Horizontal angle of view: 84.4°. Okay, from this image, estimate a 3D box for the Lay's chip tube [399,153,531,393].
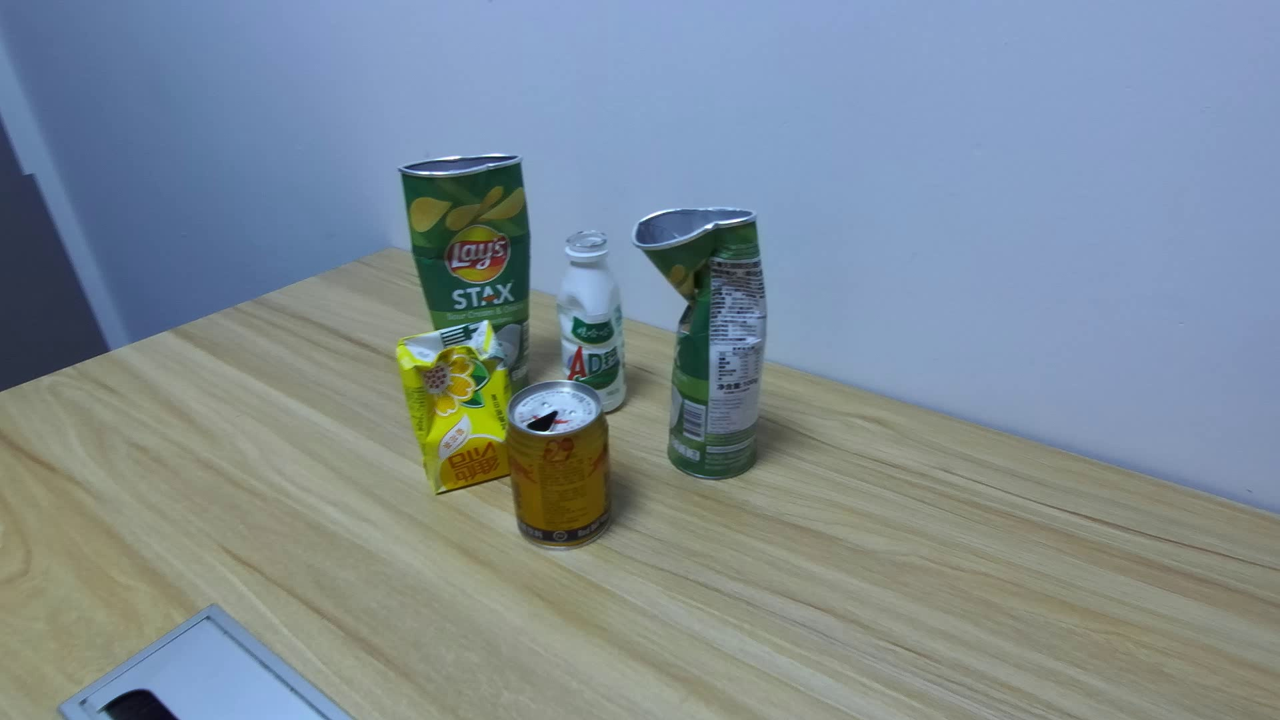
[{"bbox_3d":[-0.135,-0.065,0.587,0.068,0.200,0.075,17,36,26],"label":"Lay's chip tube"}]

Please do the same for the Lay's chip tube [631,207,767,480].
[{"bbox_3d":[0.044,-0.009,0.491,0.071,0.200,0.078,-18,32,-14],"label":"Lay's chip tube"}]

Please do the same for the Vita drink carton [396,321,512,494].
[{"bbox_3d":[-0.128,0.035,0.508,0.071,0.110,0.046,-13,30,-20],"label":"Vita drink carton"}]

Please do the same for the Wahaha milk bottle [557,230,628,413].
[{"bbox_3d":[-0.039,-0.028,0.569,0.055,0.149,0.055,-2,32,1],"label":"Wahaha milk bottle"}]

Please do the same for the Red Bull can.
[{"bbox_3d":[-0.052,0.068,0.464,0.067,0.093,0.067,0,30,0],"label":"Red Bull can"}]
